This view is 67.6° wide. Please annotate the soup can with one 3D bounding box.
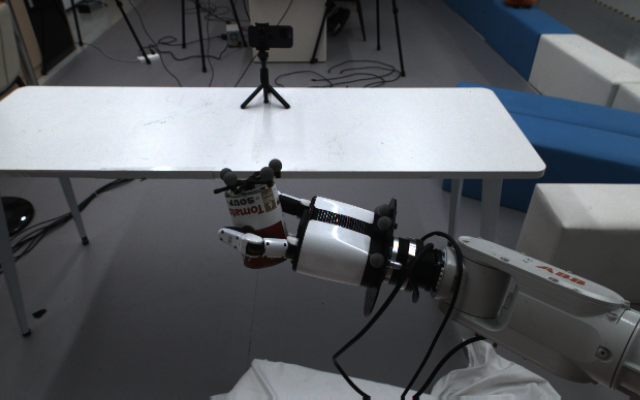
[{"bbox_3d":[-0.077,0.029,0.630,0.067,0.101,0.067,-13,17,4],"label":"soup can"}]
